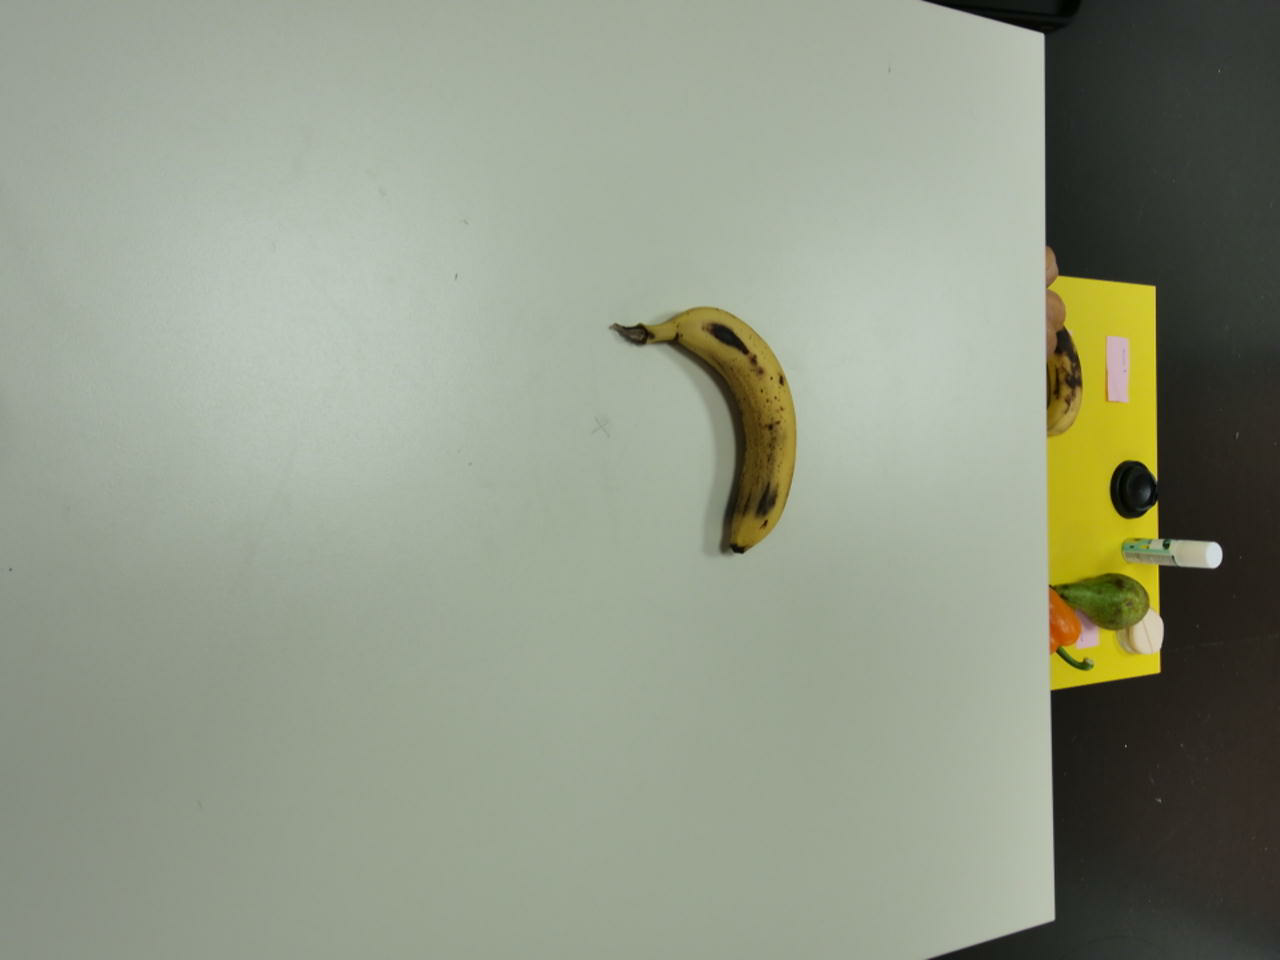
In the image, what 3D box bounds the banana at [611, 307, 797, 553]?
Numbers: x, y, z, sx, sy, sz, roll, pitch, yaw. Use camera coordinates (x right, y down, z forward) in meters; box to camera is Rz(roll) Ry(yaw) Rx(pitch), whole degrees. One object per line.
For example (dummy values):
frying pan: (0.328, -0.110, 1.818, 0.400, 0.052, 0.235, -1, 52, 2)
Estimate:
banana: (0.069, -0.047, 0.735, 0.097, 0.038, 0.186, -32, 104, -24)
